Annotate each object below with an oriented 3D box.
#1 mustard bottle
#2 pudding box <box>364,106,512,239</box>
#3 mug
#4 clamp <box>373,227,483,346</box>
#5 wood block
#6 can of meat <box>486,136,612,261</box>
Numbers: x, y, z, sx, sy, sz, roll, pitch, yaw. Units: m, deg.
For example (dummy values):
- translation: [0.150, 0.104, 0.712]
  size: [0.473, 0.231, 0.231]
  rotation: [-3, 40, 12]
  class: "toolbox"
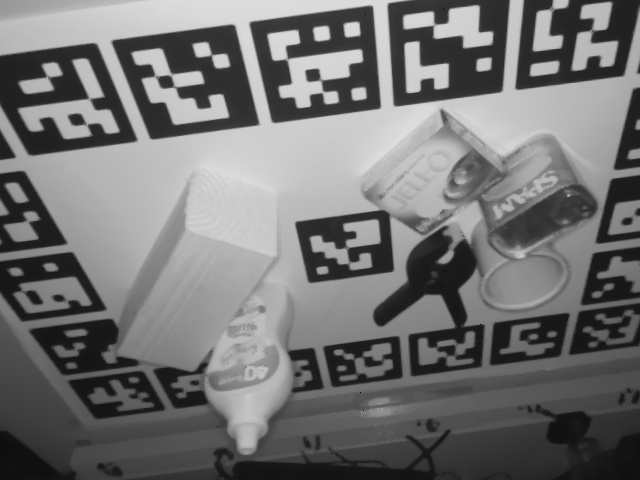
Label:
- translation: [-0.071, 0.140, 0.734]
  size: [0.096, 0.193, 0.058]
  rotation: [-11, 131, 5]
  class: "mustard bottle"
- translation: [0.112, -0.063, 0.675]
  size: [0.090, 0.039, 0.112]
  rotation: [33, 123, -29]
  class: "pudding box"
- translation: [0.214, 0.020, 0.759]
  size: [0.094, 0.082, 0.115]
  rotation: [10, 129, -13]
  class: "mug"
- translation: [0.138, 0.056, 0.791]
  size: [0.122, 0.037, 0.163]
  rotation: [8, 129, -10]
  class: "clamp"
- translation: [-0.127, 0.032, 0.708]
  size: [0.091, 0.091, 0.203]
  rotation: [21, 129, -24]
  class: "wood block"
- translation: [0.213, -0.041, 0.666]
  size: [0.100, 0.084, 0.058]
  rotation: [-31, 126, 22]
  class: "can of meat"
